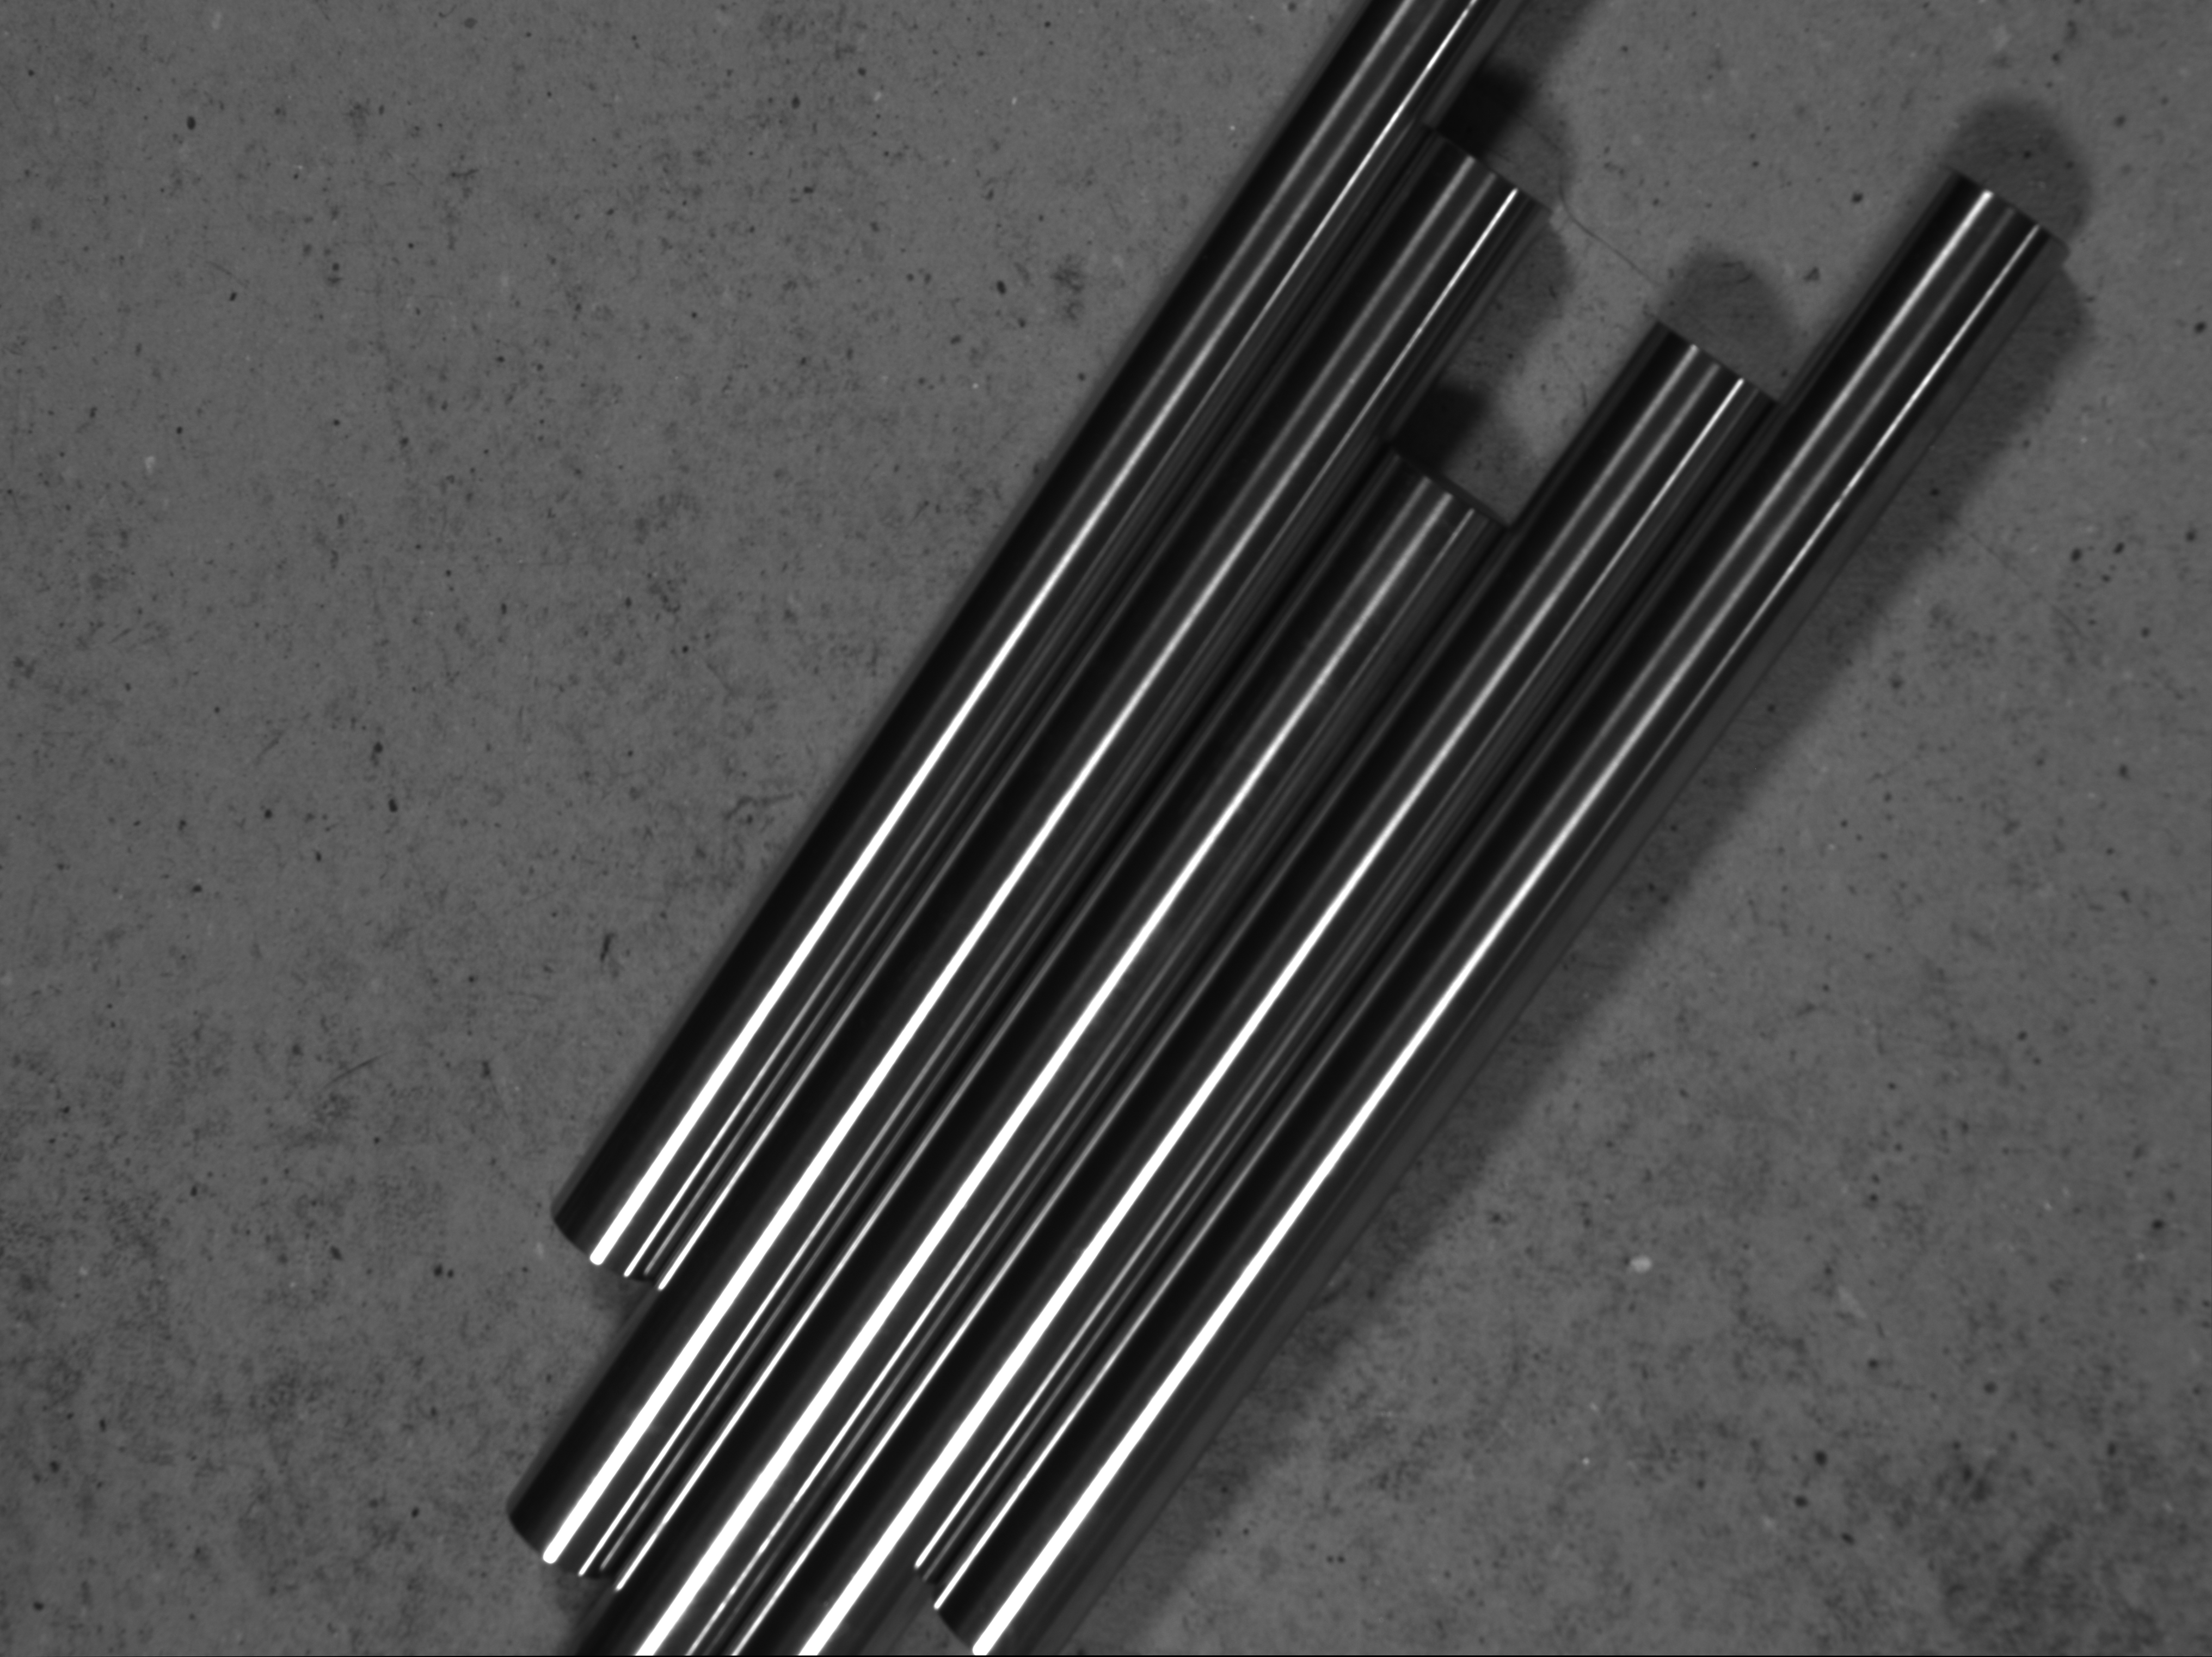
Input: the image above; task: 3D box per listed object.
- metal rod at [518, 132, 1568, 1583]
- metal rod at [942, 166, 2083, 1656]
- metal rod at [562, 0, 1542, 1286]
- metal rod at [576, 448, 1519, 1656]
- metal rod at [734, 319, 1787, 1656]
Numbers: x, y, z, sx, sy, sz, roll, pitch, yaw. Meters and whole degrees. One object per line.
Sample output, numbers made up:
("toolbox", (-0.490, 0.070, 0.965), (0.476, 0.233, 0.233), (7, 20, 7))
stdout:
("metal rod", (-0.015, 0.010, 0.650), (0.025, 0.025, 0.300), (38, 102, 16))
("metal rod", (0.064, 0.021, 0.621), (0.025, 0.025, 0.300), (38, 102, 16))
("metal rod", (-0.007, -0.045, 0.647), (0.025, 0.025, 0.300), (38, 102, 16))
("metal rod", (-0.022, 0.063, 0.652), (0.025, 0.025, 0.300), (38, 102, 16))
("metal rod", (0.020, 0.044, 0.637), (0.025, 0.025, 0.300), (38, 102, 16))
